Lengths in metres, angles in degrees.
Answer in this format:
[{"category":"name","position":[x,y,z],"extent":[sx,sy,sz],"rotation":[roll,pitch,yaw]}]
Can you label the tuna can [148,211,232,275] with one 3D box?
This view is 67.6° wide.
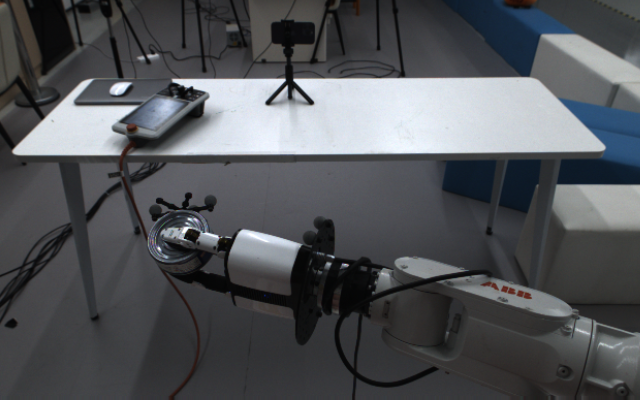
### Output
[{"category":"tuna can","position":[-0.184,0.063,0.652],"extent":[0.085,0.034,0.085],"rotation":[-3,60,5]}]
